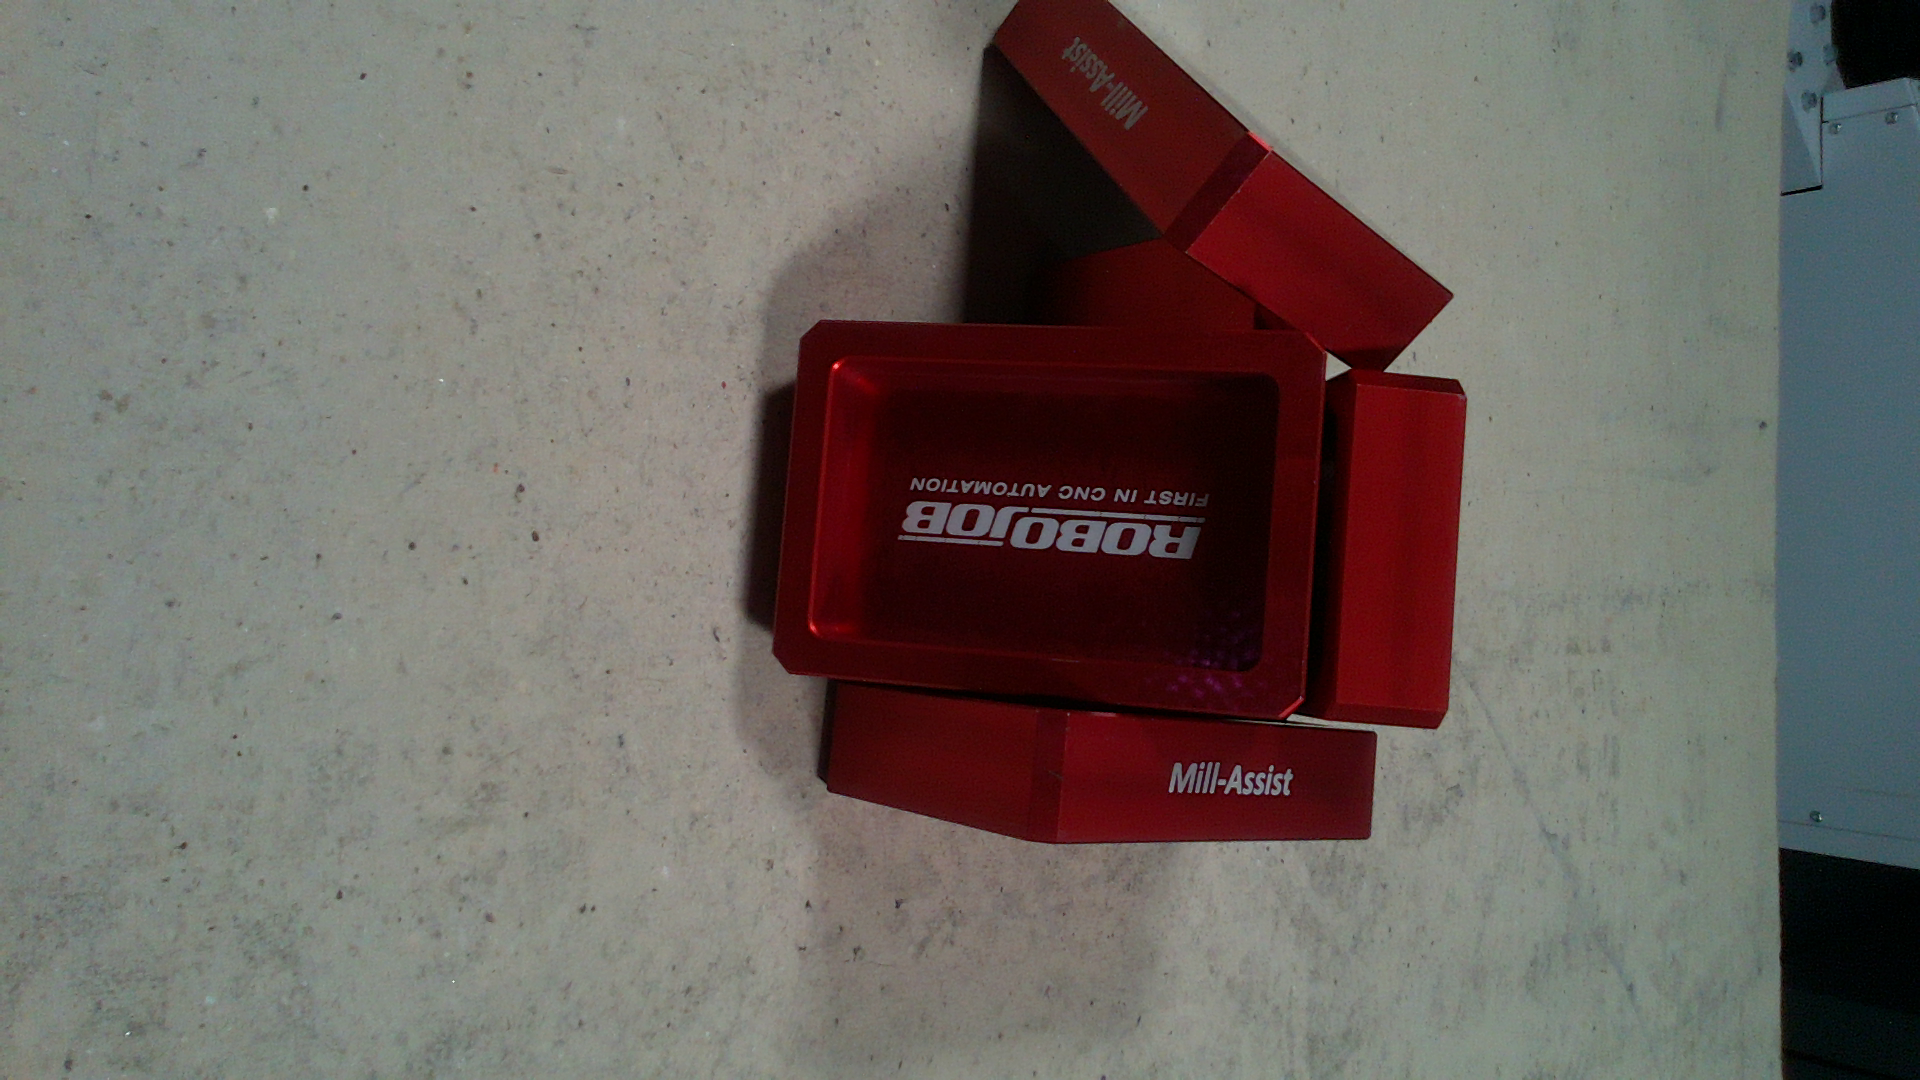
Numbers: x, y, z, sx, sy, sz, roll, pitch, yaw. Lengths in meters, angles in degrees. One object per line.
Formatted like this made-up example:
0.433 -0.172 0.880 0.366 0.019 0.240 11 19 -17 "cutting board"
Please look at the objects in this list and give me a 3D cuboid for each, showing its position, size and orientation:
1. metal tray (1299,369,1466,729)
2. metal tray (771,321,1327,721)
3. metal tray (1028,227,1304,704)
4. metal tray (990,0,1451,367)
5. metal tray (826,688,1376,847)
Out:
0.104 0.005 0.411 0.030 0.130 0.090 5 86 -6 "metal tray"
0.022 -0.006 0.345 0.030 0.130 0.090 20 74 -75 "metal tray"
0.056 -0.019 0.393 0.030 0.090 0.130 9 84 -39 "metal tray"
0.070 -0.107 0.388 0.090 0.130 0.030 22 117 -38 "metal tray"
0.041 0.061 0.380 0.131 0.090 0.030 9 84 -39 "metal tray"
